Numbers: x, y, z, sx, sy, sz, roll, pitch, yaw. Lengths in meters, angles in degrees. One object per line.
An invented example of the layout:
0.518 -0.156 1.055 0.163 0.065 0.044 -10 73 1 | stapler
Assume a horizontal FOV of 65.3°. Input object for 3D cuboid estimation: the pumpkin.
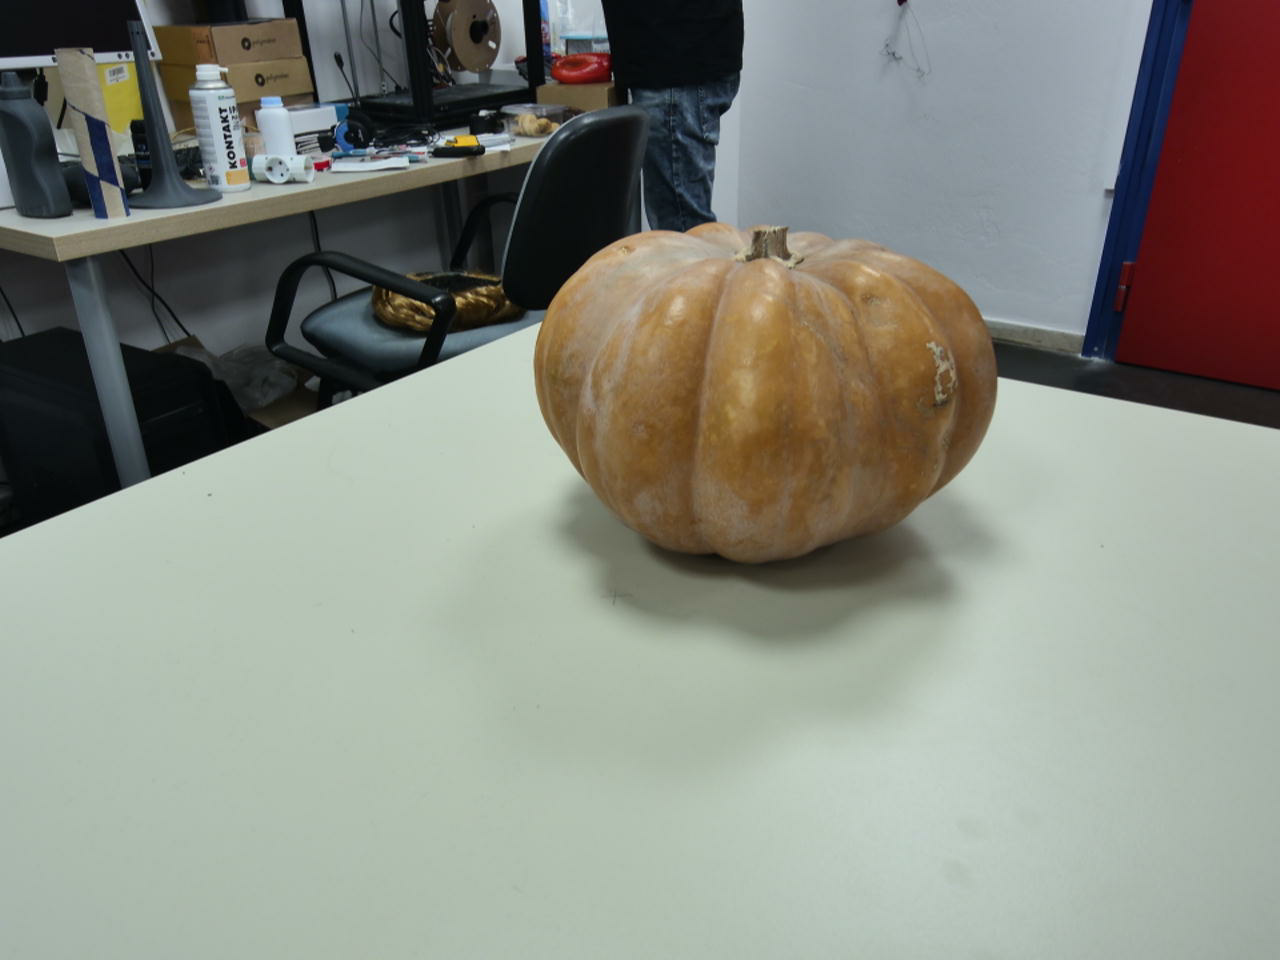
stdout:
0.067 -0.061 0.603 0.277 0.181 0.277 0 25 0 | pumpkin
